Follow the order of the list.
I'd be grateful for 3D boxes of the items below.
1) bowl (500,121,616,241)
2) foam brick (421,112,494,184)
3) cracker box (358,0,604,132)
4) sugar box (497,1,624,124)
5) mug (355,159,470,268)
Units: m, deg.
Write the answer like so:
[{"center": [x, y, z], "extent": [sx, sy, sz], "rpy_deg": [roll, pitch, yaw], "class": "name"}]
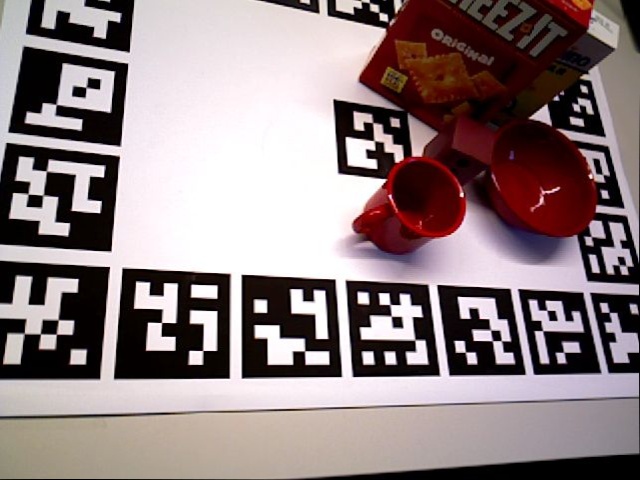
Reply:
[{"center": [0.275, -0.061, 0.661], "extent": [0.160, 0.056, 0.160], "rpy_deg": [7, 69, -18], "class": "bowl"}, {"center": [0.158, -0.099, 0.635], "extent": [0.052, 0.080, 0.050], "rpy_deg": [19, 63, -13], "class": "foam brick"}, {"center": [0.163, -0.221, 0.600], "extent": [0.164, 0.218, 0.070], "rpy_deg": [32, 59, -7], "class": "cracker box"}, {"center": [0.259, -0.218, 0.656], "extent": [0.092, 0.180, 0.044], "rpy_deg": [24, 62, -10], "class": "sugar box"}, {"center": [0.091, -0.022, 0.568], "extent": [0.115, 0.083, 0.092], "rpy_deg": [-5, 63, -21], "class": "mug"}]
